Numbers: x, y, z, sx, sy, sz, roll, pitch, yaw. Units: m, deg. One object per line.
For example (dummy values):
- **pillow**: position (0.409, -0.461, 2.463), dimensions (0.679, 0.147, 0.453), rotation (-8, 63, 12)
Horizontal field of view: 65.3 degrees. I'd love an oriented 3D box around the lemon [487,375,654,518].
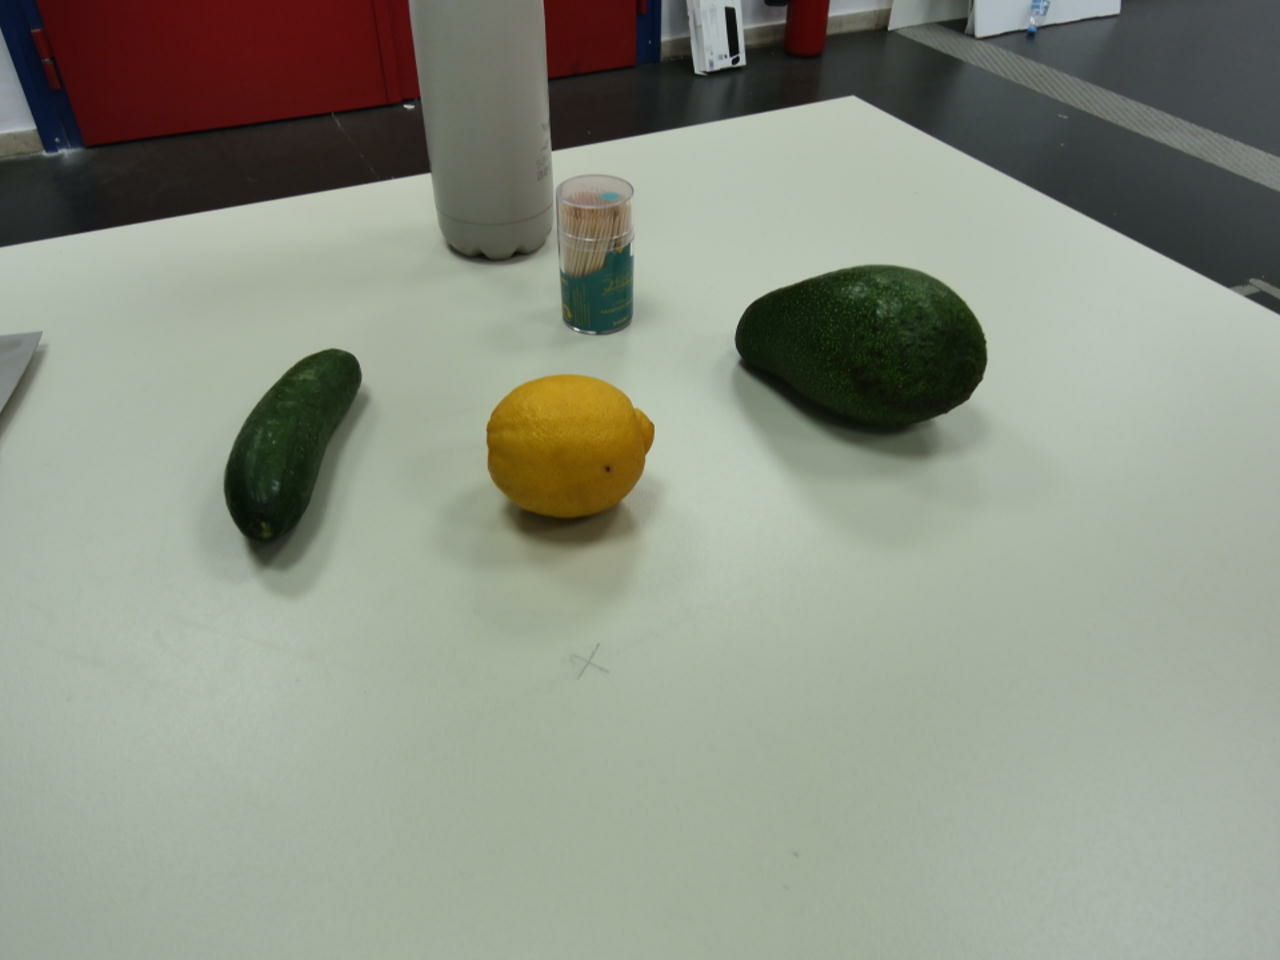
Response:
- **lemon**: position (-0.030, -0.013, 0.416), dimensions (0.067, 0.059, 0.060), rotation (9, 39, 12)
